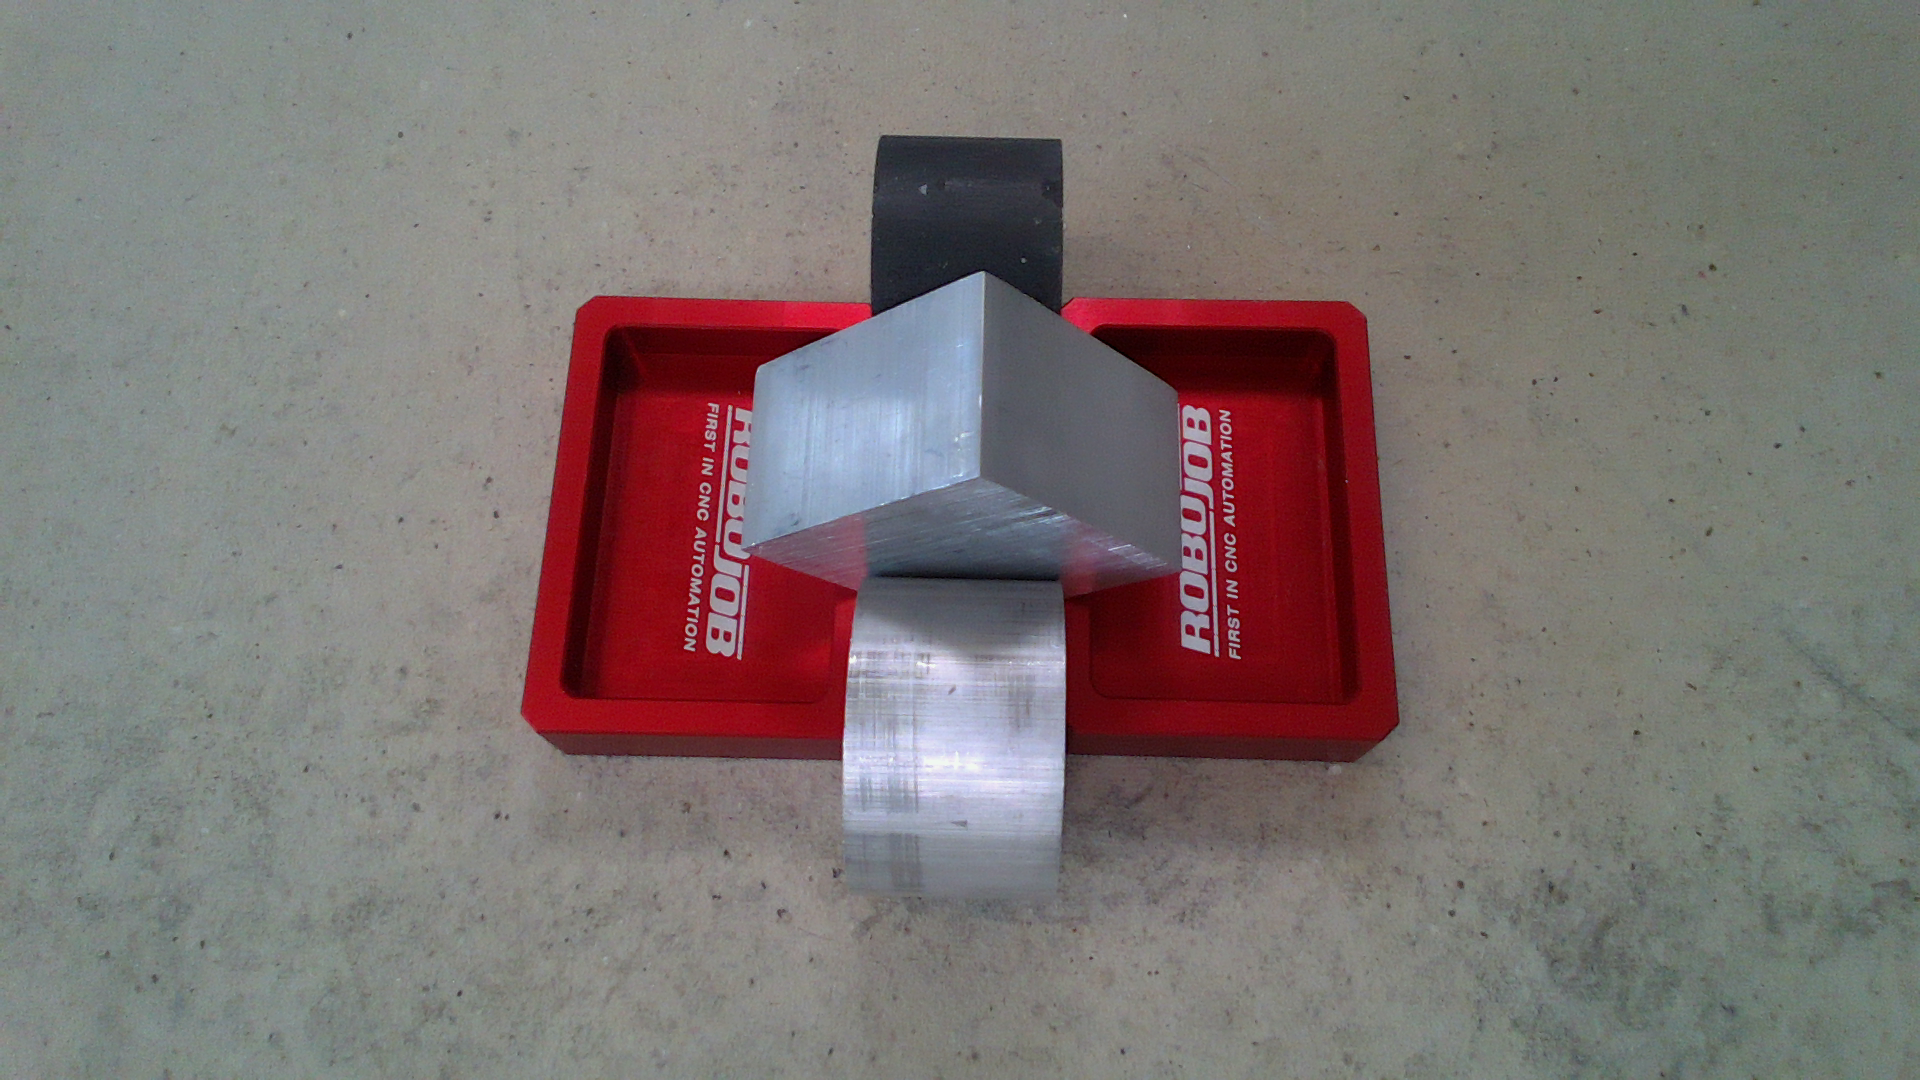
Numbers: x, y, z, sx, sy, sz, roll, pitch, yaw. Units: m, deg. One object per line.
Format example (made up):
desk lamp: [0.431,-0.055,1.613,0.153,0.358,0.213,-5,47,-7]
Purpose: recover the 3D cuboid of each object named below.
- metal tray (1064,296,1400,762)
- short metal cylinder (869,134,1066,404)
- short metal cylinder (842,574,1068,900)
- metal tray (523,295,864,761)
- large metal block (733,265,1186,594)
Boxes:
metal tray: [0.072,-0.005,0.394,0.090,0.030,0.130,2,70,0]
short metal cylinder: [0.002,-0.074,0.392,0.050,0.080,0.080,2,70,1]
short metal cylinder: [-0.001,0.049,0.347,0.050,0.080,0.080,2,70,1]
metal tray: [-0.068,-0.005,0.394,0.090,0.030,0.130,2,70,0]
large metal block: [0.001,-0.019,0.350,0.080,0.080,0.050,-15,65,38]
